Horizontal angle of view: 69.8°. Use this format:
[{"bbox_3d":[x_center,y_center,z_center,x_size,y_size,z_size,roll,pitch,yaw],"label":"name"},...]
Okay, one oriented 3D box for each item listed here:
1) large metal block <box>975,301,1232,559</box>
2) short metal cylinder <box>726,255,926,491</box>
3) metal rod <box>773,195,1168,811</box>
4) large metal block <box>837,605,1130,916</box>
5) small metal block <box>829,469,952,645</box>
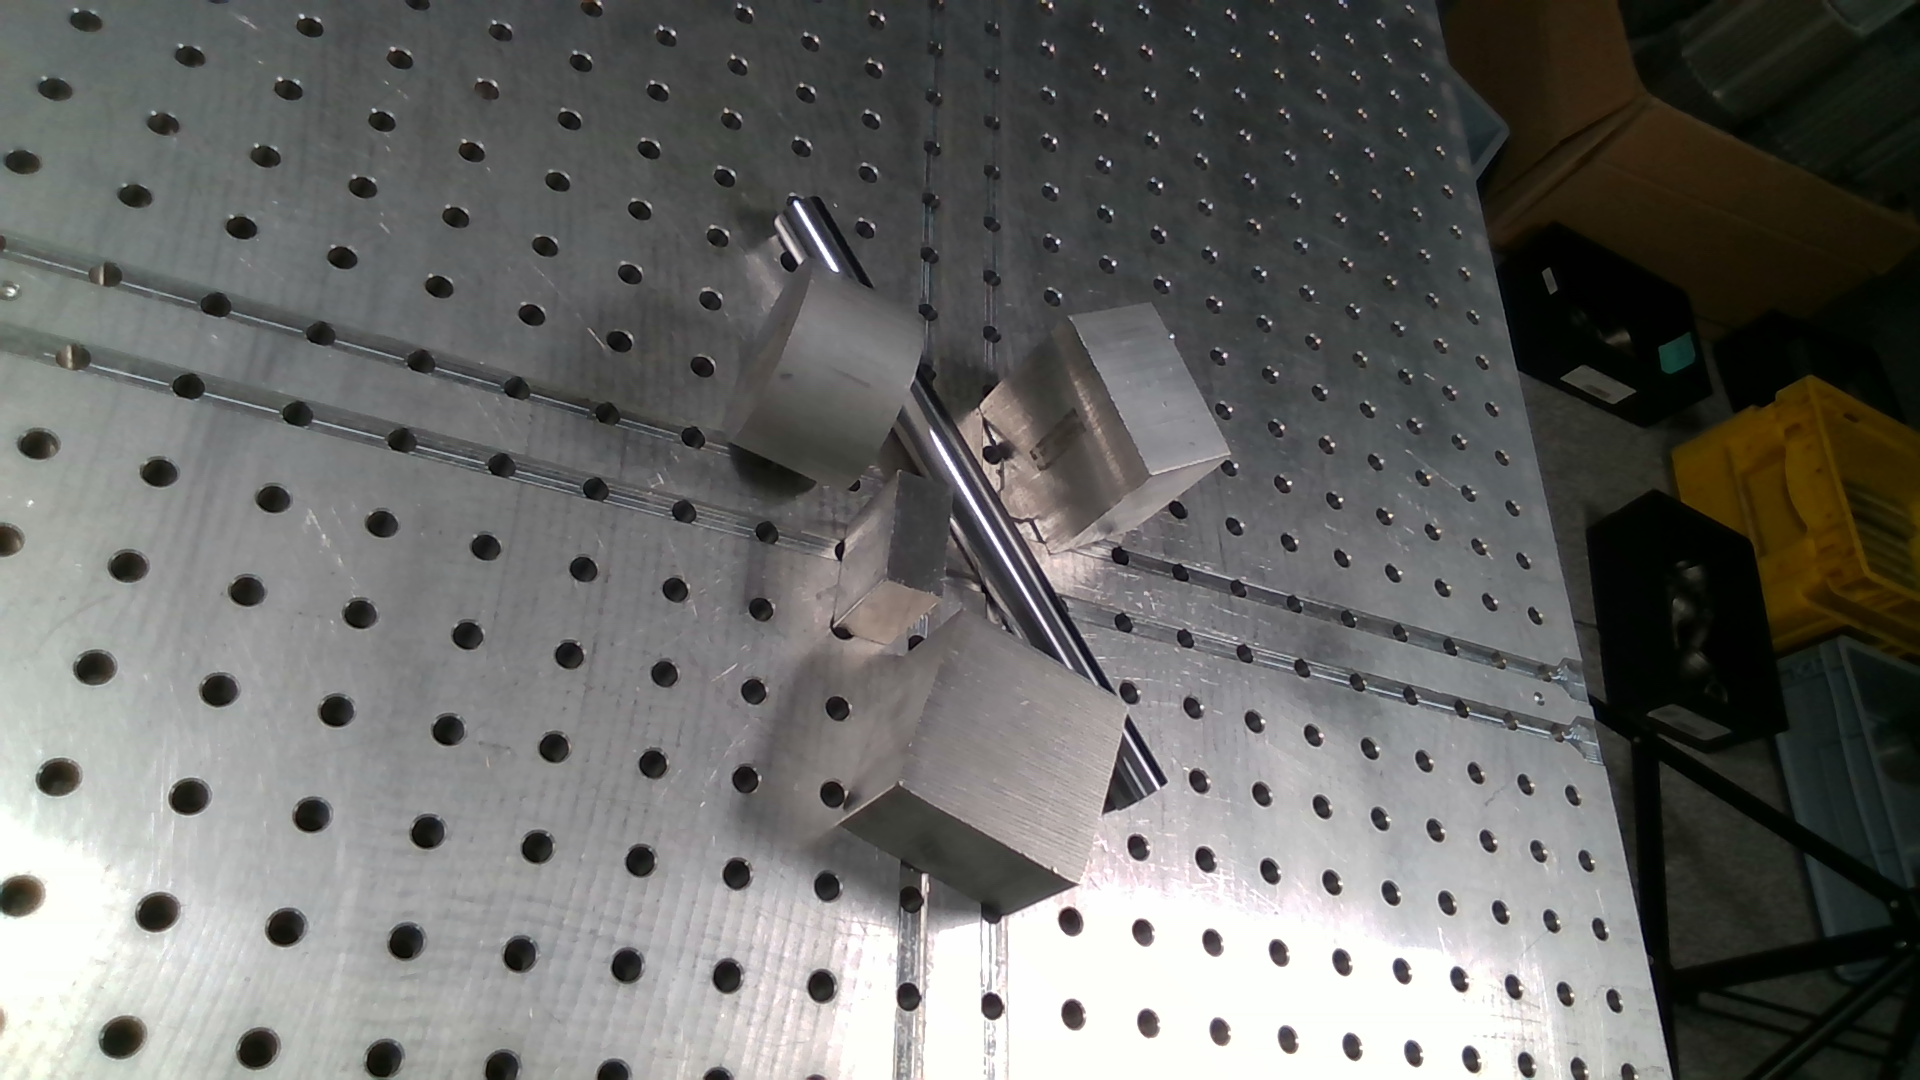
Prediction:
[{"bbox_3d":[0.062,-0.049,0.619,0.050,0.080,0.080,-16,74,-37],"label":"large metal block"},{"bbox_3d":[-0.055,-0.067,0.555,0.050,0.080,0.080,25,55,-18],"label":"short metal cylinder"},{"bbox_3d":[0.002,-0.020,0.600,0.025,0.025,0.300,-24,79,-38],"label":"metal rod"},{"bbox_3d":[0.011,0.086,0.530,0.080,0.050,0.080,31,53,-14],"label":"large metal block"},{"bbox_3d":[-0.028,0.008,0.552,0.025,0.050,0.050,19,57,-22],"label":"small metal block"}]
